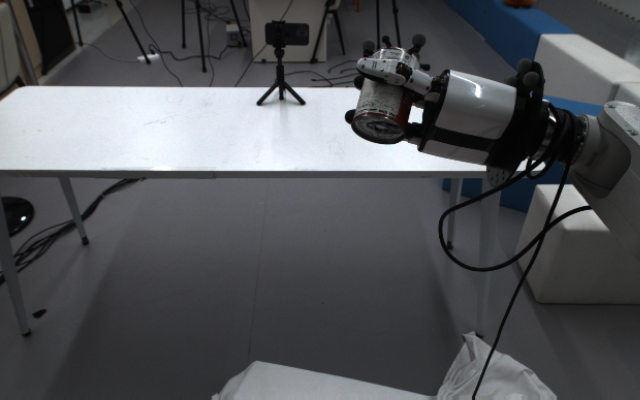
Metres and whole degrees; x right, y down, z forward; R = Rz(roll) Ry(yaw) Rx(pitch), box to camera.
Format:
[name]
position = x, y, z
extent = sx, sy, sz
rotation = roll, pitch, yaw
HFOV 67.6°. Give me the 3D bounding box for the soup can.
[soup can]
position = 0.085, -0.131, 0.610
extent = 0.067, 0.067, 0.101
rotation = 11, 72, 13
